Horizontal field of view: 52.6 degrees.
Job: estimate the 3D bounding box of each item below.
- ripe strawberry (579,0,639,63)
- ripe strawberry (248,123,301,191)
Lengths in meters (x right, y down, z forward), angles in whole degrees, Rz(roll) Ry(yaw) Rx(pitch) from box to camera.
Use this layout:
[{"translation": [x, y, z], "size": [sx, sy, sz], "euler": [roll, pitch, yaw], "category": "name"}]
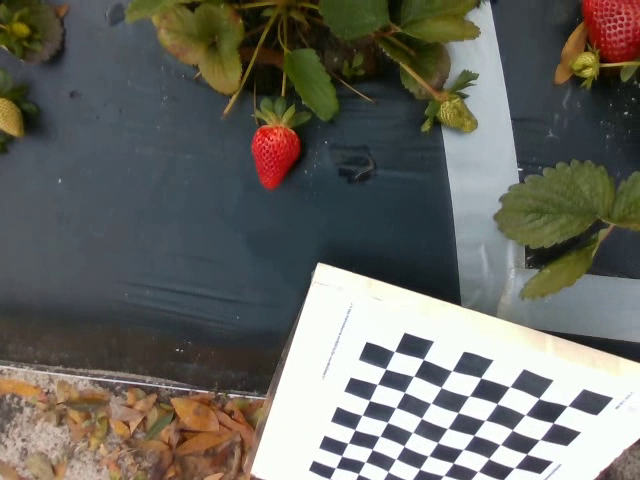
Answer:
[{"translation": [0.184, -0.135, 0.394], "size": [0.043, 0.062, 0.043], "euler": [-47, 7, 45], "category": "ripe strawberry"}, {"translation": [-0.028, -0.055, 0.408], "size": [0.036, 0.046, 0.040], "euler": [14, -4, 19], "category": "ripe strawberry"}]
